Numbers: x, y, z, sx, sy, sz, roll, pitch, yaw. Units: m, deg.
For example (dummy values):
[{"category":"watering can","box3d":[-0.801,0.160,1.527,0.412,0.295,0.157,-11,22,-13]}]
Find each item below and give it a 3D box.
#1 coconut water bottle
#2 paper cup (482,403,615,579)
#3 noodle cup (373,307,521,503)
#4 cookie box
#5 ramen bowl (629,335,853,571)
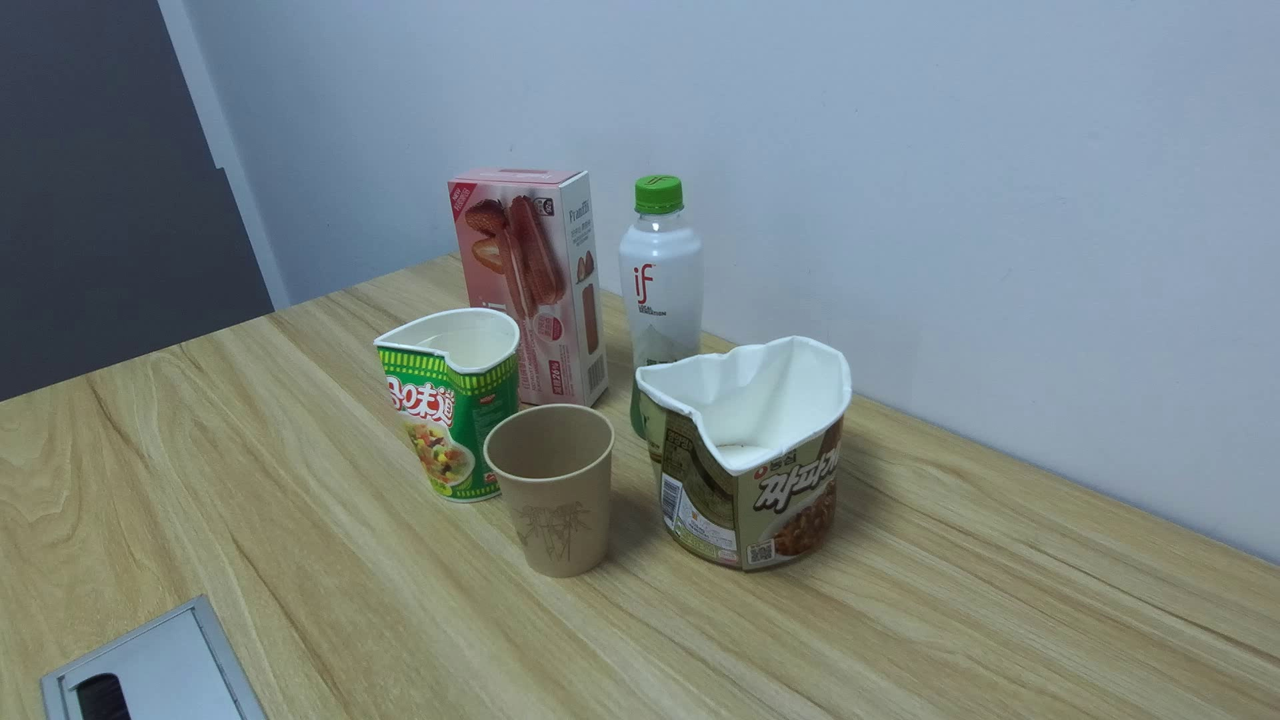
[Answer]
[{"category":"coconut water bottle","box3d":[0.018,-0.031,0.500,0.063,0.189,0.063,-3,27,2]},{"category":"paper cup","box3d":[-0.049,0.081,0.422,0.075,0.082,0.075,-3,30,2]},{"category":"noodle cup","box3d":[-0.117,0.033,0.486,0.087,0.109,0.093,-22,35,-26]},{"category":"cookie box","box3d":[-0.083,-0.053,0.557,0.096,0.185,0.048,7,30,21]},{"category":"ramen bowl","box3d":[0.074,0.051,0.440,0.134,0.098,0.113,-22,34,-26]}]
